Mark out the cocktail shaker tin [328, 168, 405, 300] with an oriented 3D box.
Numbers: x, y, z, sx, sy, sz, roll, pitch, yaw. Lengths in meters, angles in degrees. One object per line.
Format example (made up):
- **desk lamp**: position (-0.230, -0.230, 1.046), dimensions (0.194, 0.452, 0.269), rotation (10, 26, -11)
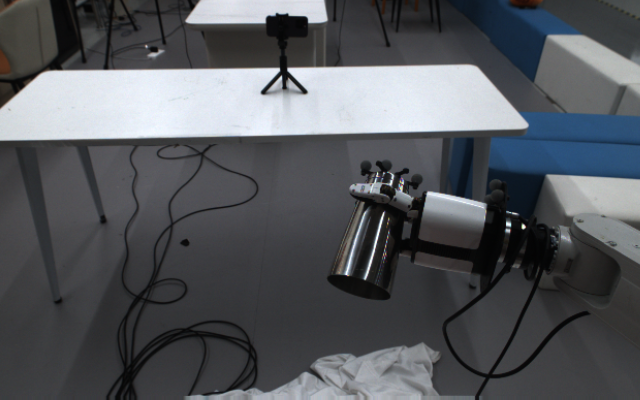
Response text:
- **cocktail shaker tin**: position (0.081, 0.043, 0.696), dimensions (0.093, 0.093, 0.170), rotation (12, 65, 14)
